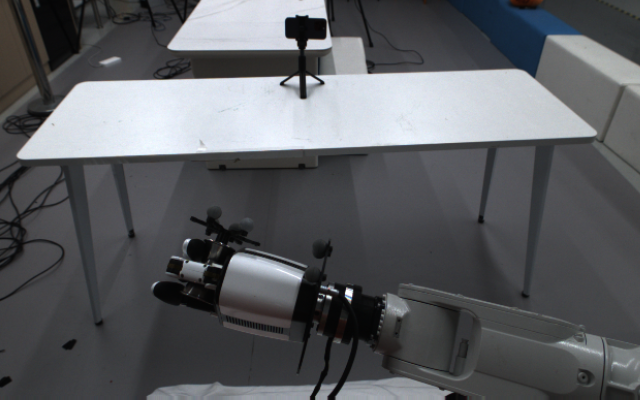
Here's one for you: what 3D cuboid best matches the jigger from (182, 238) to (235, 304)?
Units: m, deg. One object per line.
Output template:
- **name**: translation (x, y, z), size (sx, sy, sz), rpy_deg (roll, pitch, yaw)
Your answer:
- **jigger**: translation (-0.129, 0.083, 0.567), size (0.043, 0.043, 0.071), rpy_deg (15, 70, 18)
